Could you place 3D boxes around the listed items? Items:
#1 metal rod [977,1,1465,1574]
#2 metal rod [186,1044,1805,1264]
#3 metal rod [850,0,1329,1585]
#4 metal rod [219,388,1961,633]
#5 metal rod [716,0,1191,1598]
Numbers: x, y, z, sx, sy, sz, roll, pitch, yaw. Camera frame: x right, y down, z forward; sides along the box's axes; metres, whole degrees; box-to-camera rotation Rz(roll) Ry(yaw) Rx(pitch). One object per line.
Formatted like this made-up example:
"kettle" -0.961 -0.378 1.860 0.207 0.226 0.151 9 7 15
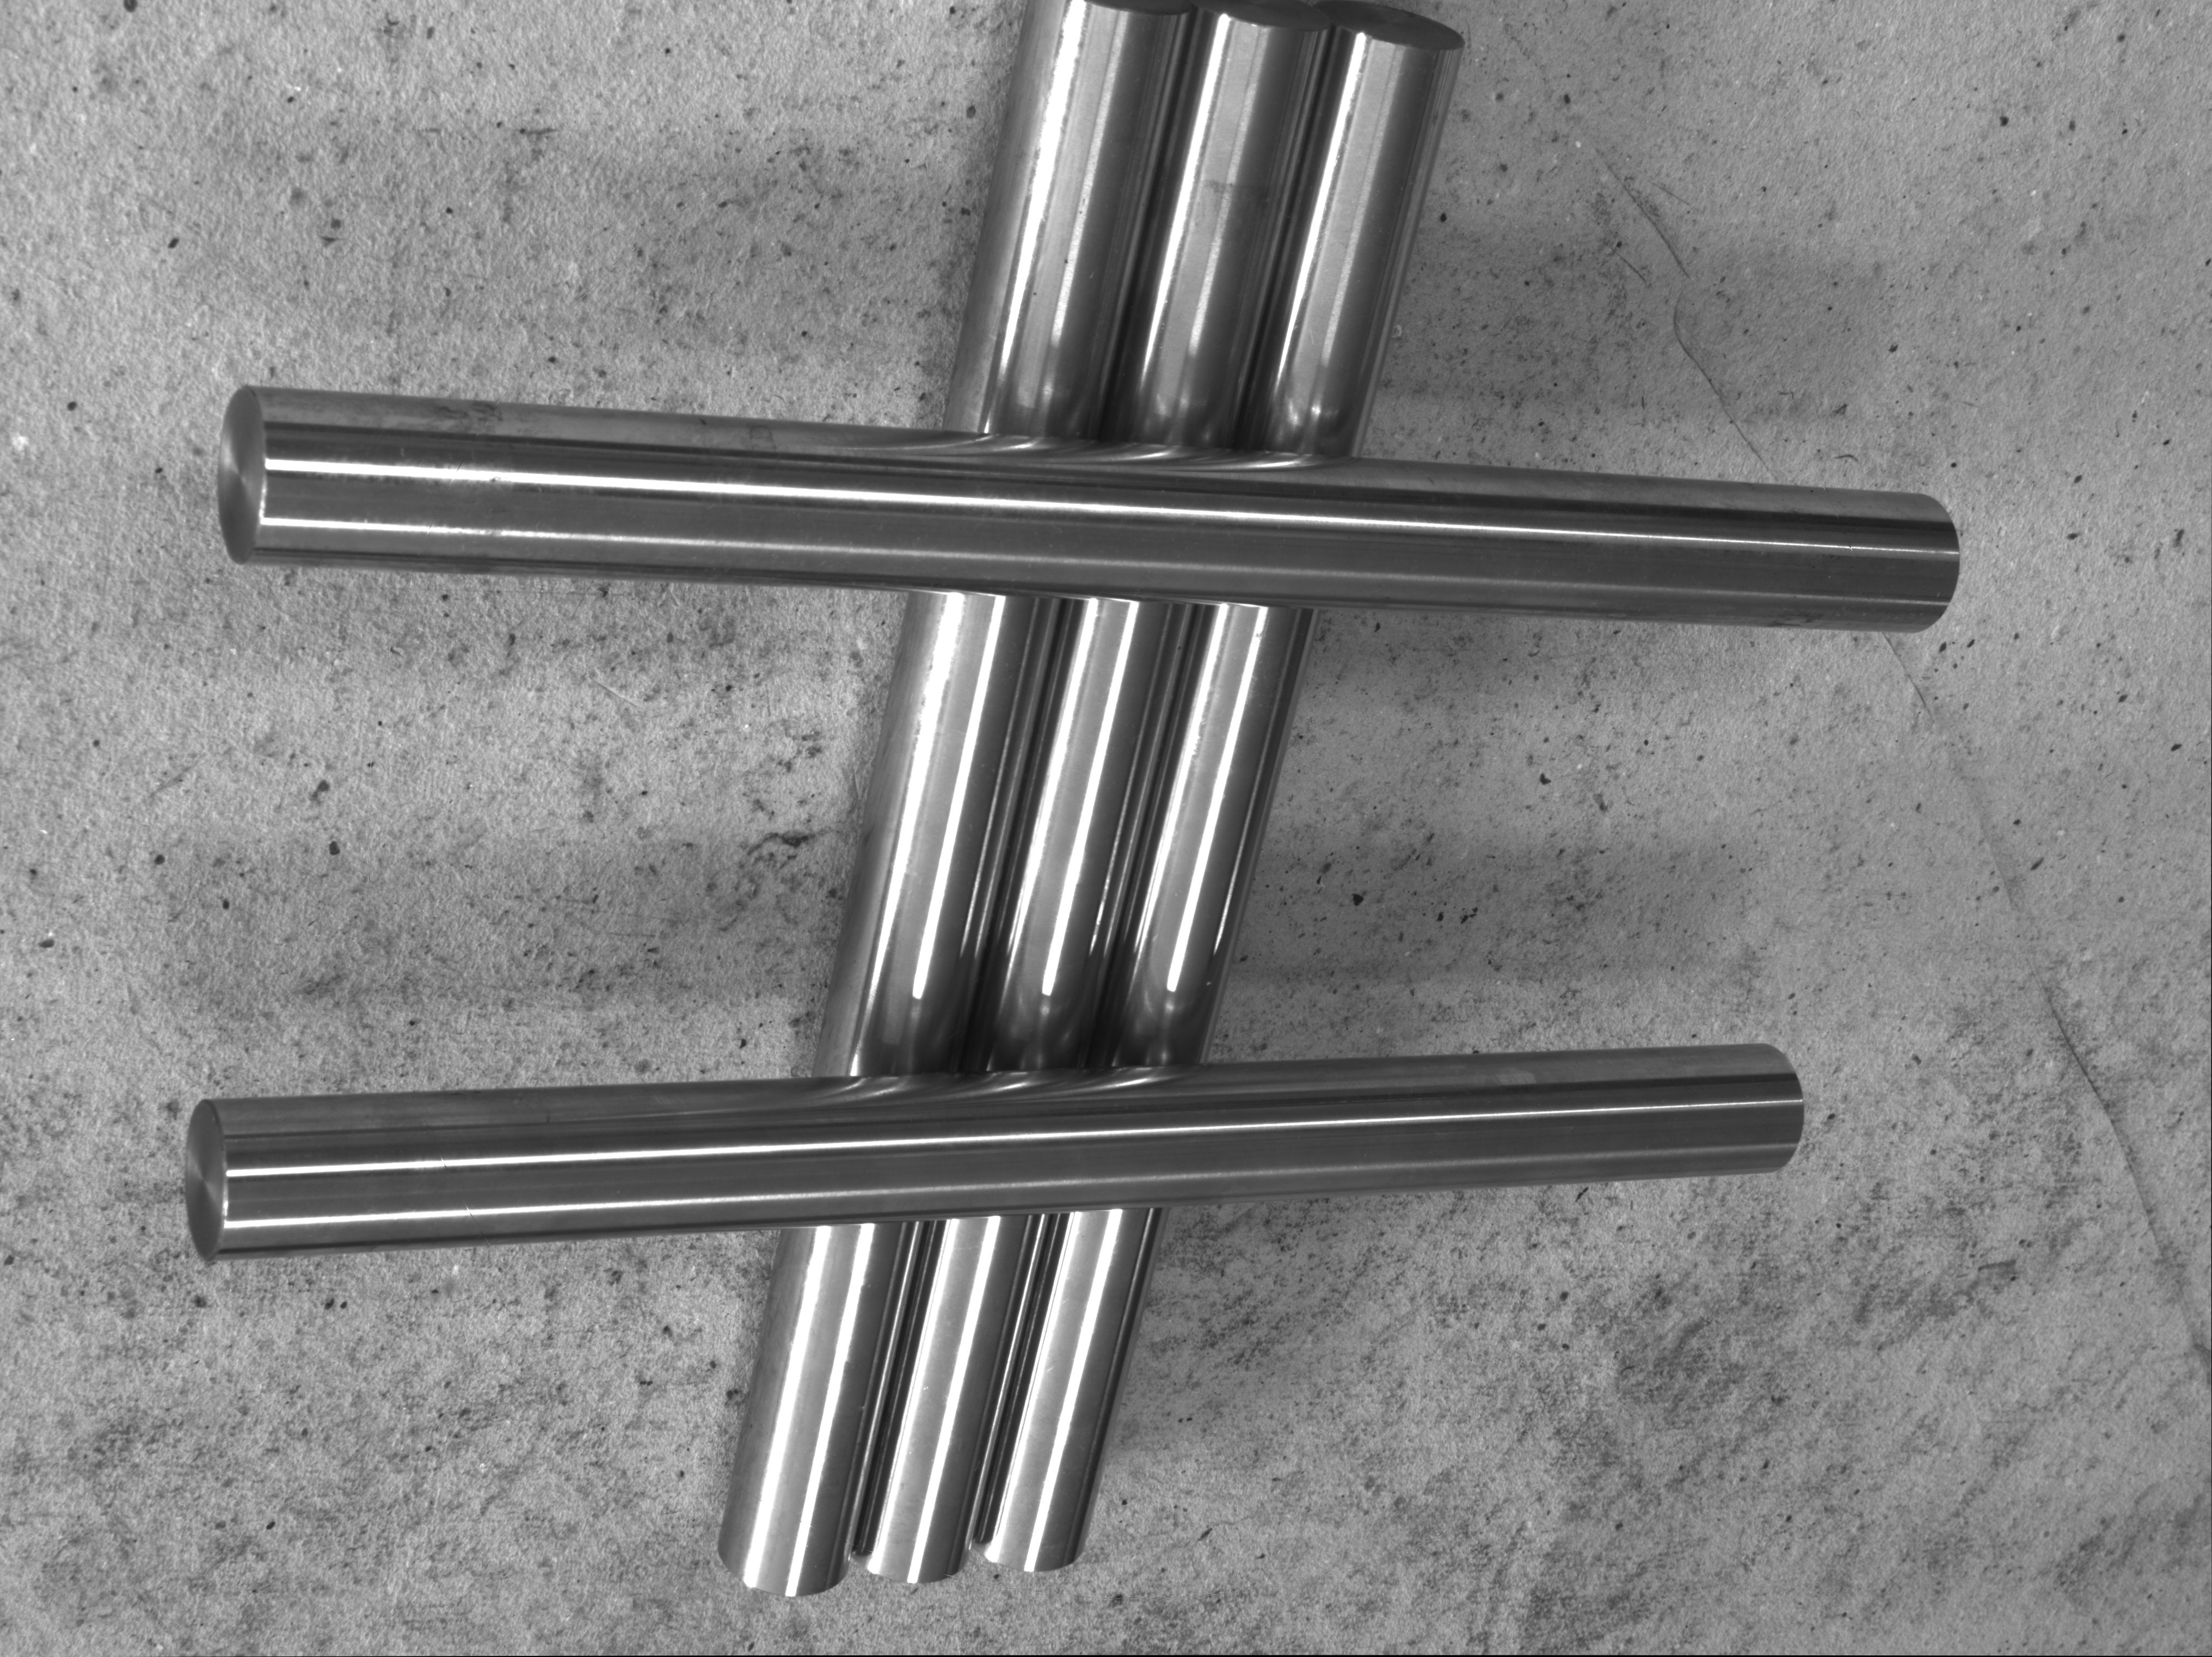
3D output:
"metal rod" 0.014 0.004 0.648 0.025 0.025 0.300 -1 119 -28
"metal rod" -0.006 0.054 0.635 0.301 0.025 0.025 0 118 -28
"metal rod" -0.008 0.004 0.635 0.025 0.025 0.300 -1 119 -28
"metal rod" 0.012 -0.048 0.582 0.301 0.025 0.025 0 118 -29
"metal rod" -0.030 0.004 0.624 0.025 0.025 0.300 -1 119 -28
